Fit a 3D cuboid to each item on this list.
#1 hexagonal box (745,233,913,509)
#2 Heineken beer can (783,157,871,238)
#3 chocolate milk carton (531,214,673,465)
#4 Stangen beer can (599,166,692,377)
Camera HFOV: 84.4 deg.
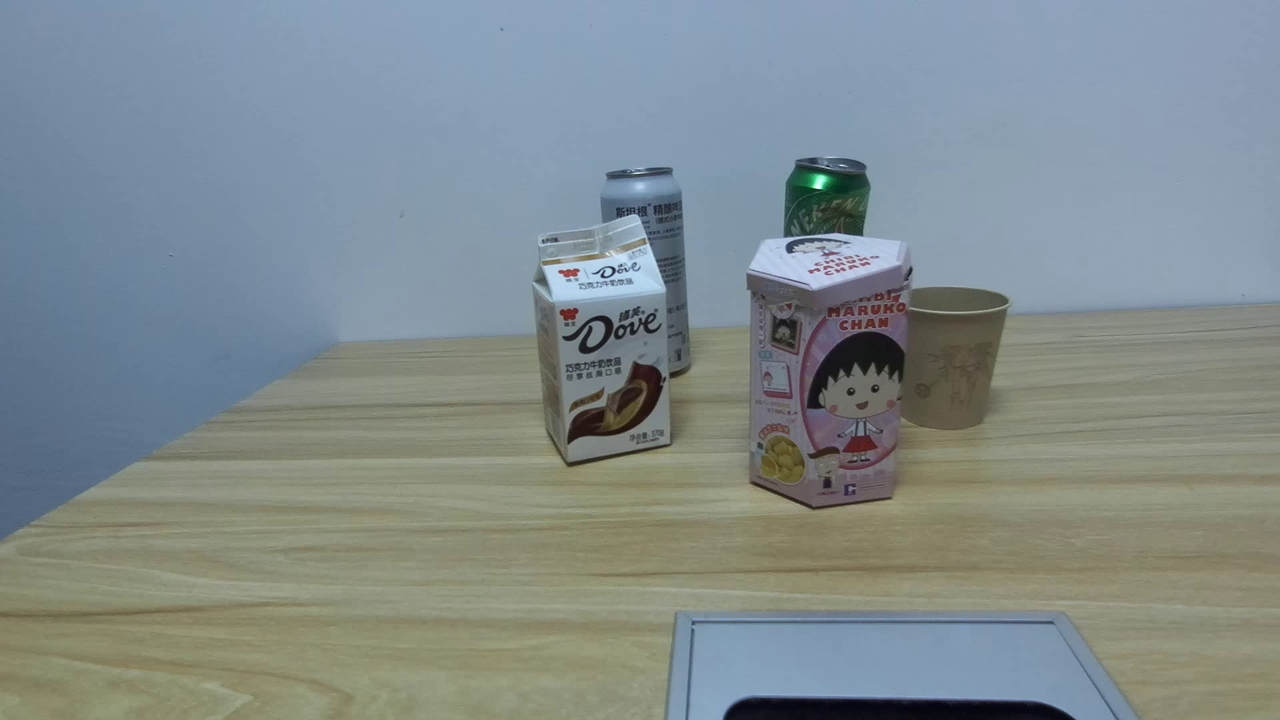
[{"bbox_3d":[0.104,0.004,0.396,0.092,0.135,0.085,-6,19,-6],"label":"hexagonal box"},{"bbox_3d":[0.150,-0.073,0.564,0.068,0.168,0.069,-2,20,3],"label":"Heineken beer can"},{"bbox_3d":[-0.026,-0.017,0.466,0.075,0.148,0.074,-8,18,-16],"label":"chocolate milk carton"},{"bbox_3d":[0.006,-0.071,0.591,0.067,0.171,0.067,-5,15,2],"label":"Stangen beer can"}]
